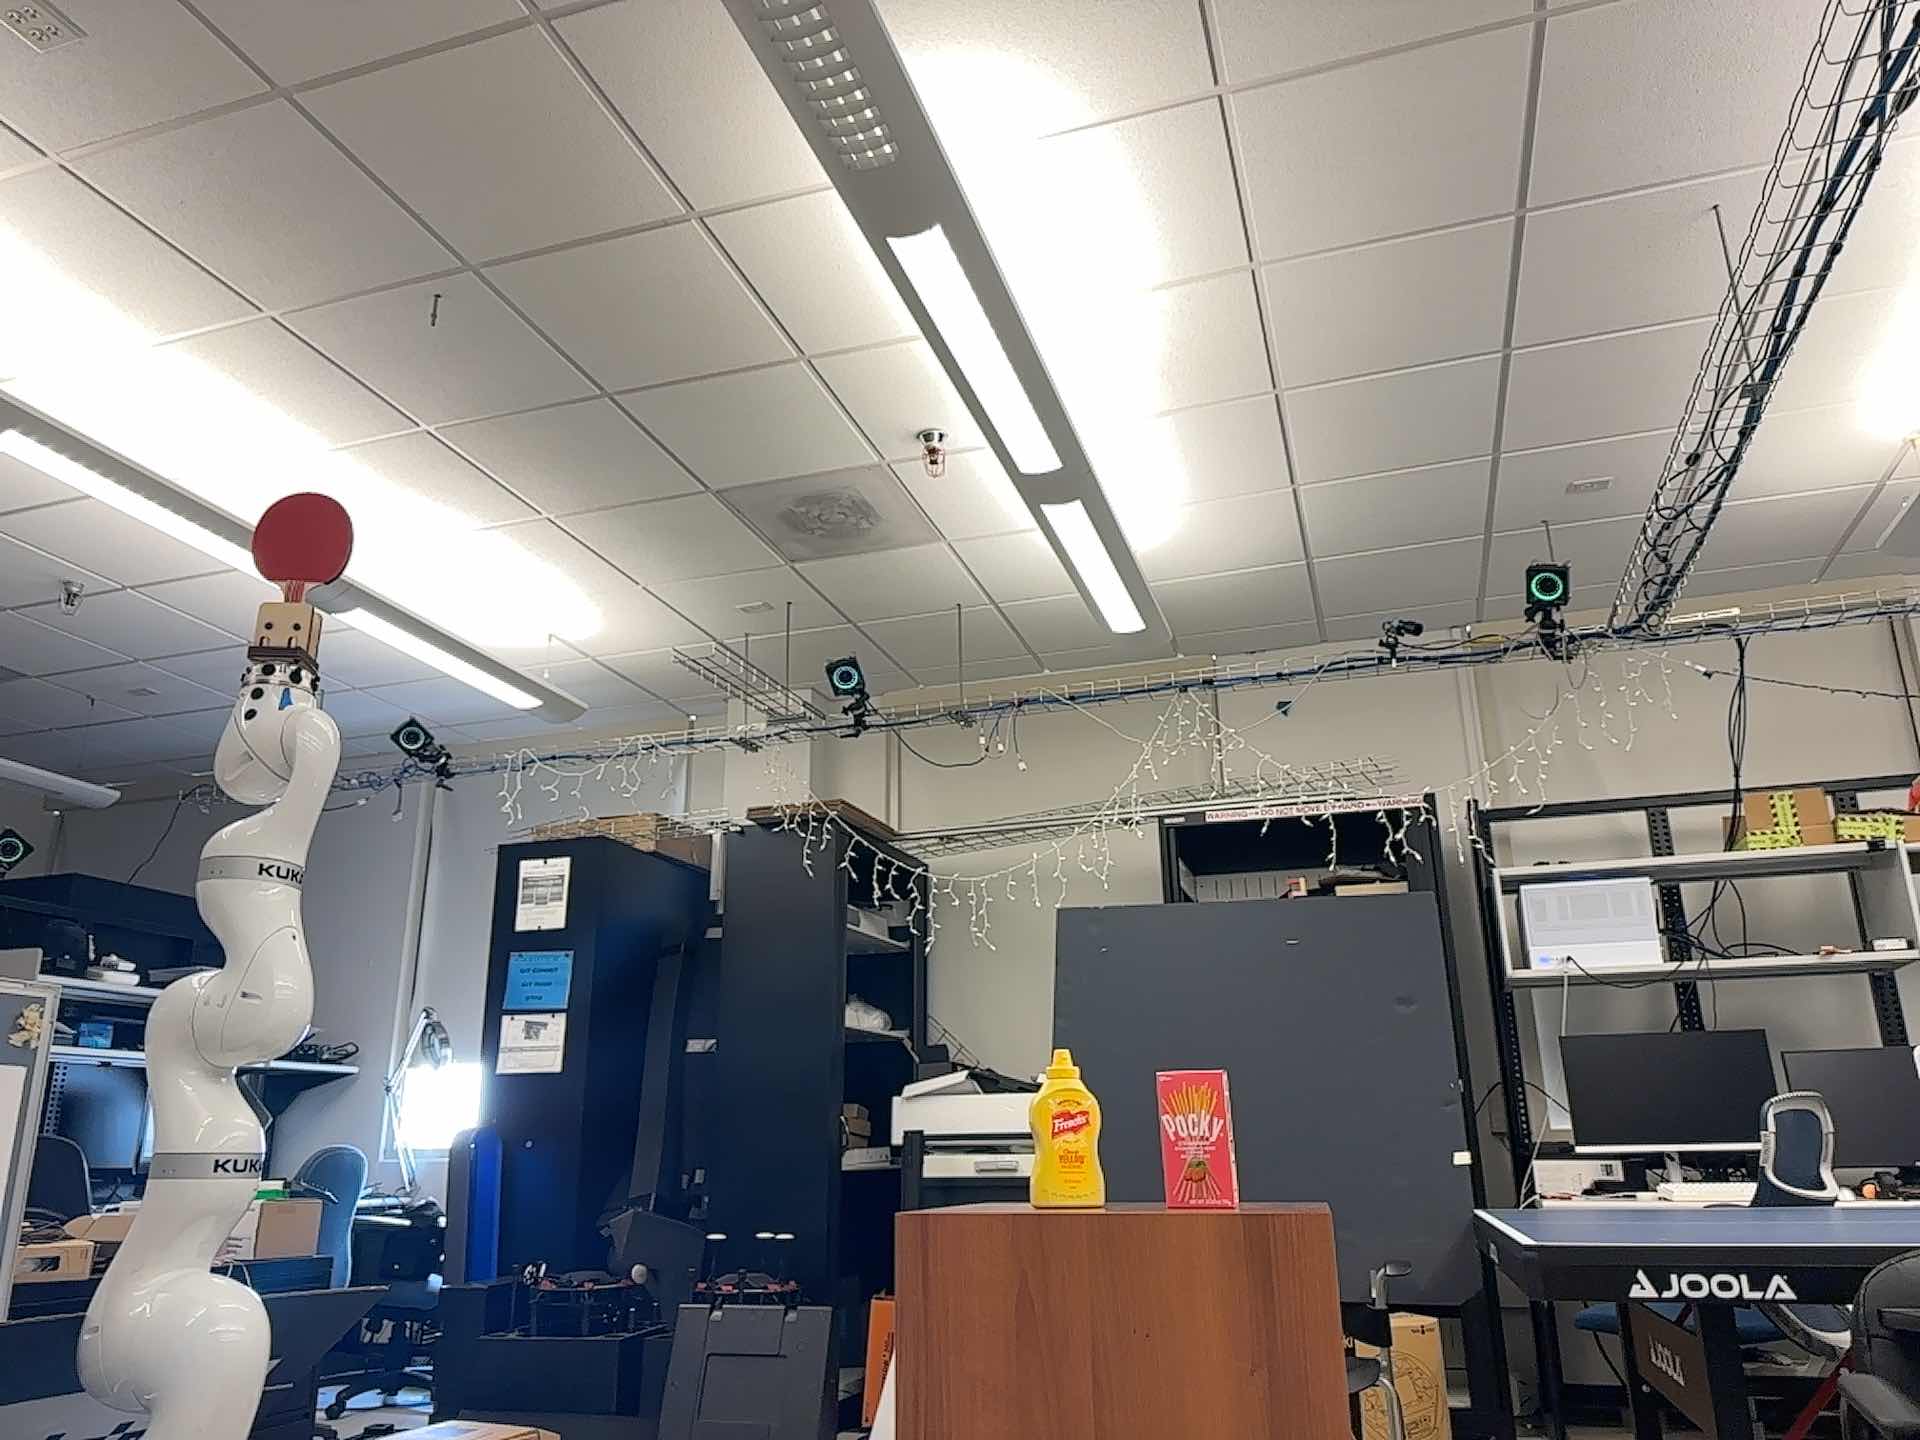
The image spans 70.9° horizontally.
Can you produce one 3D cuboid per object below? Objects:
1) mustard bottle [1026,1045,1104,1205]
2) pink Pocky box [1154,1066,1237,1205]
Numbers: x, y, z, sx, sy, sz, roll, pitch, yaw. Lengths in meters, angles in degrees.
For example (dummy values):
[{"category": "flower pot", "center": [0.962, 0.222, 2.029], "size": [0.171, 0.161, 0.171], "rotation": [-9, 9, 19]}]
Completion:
[{"category": "mustard bottle", "center": [0.123, 0.487, 1.629], "size": [0.092, 0.184, 0.054], "rotation": [2, -18, -9]}, {"category": "pink Pocky box", "center": [0.277, 0.491, 1.594], "size": [0.084, 0.154, 0.029], "rotation": [-9, -20, 24]}]
